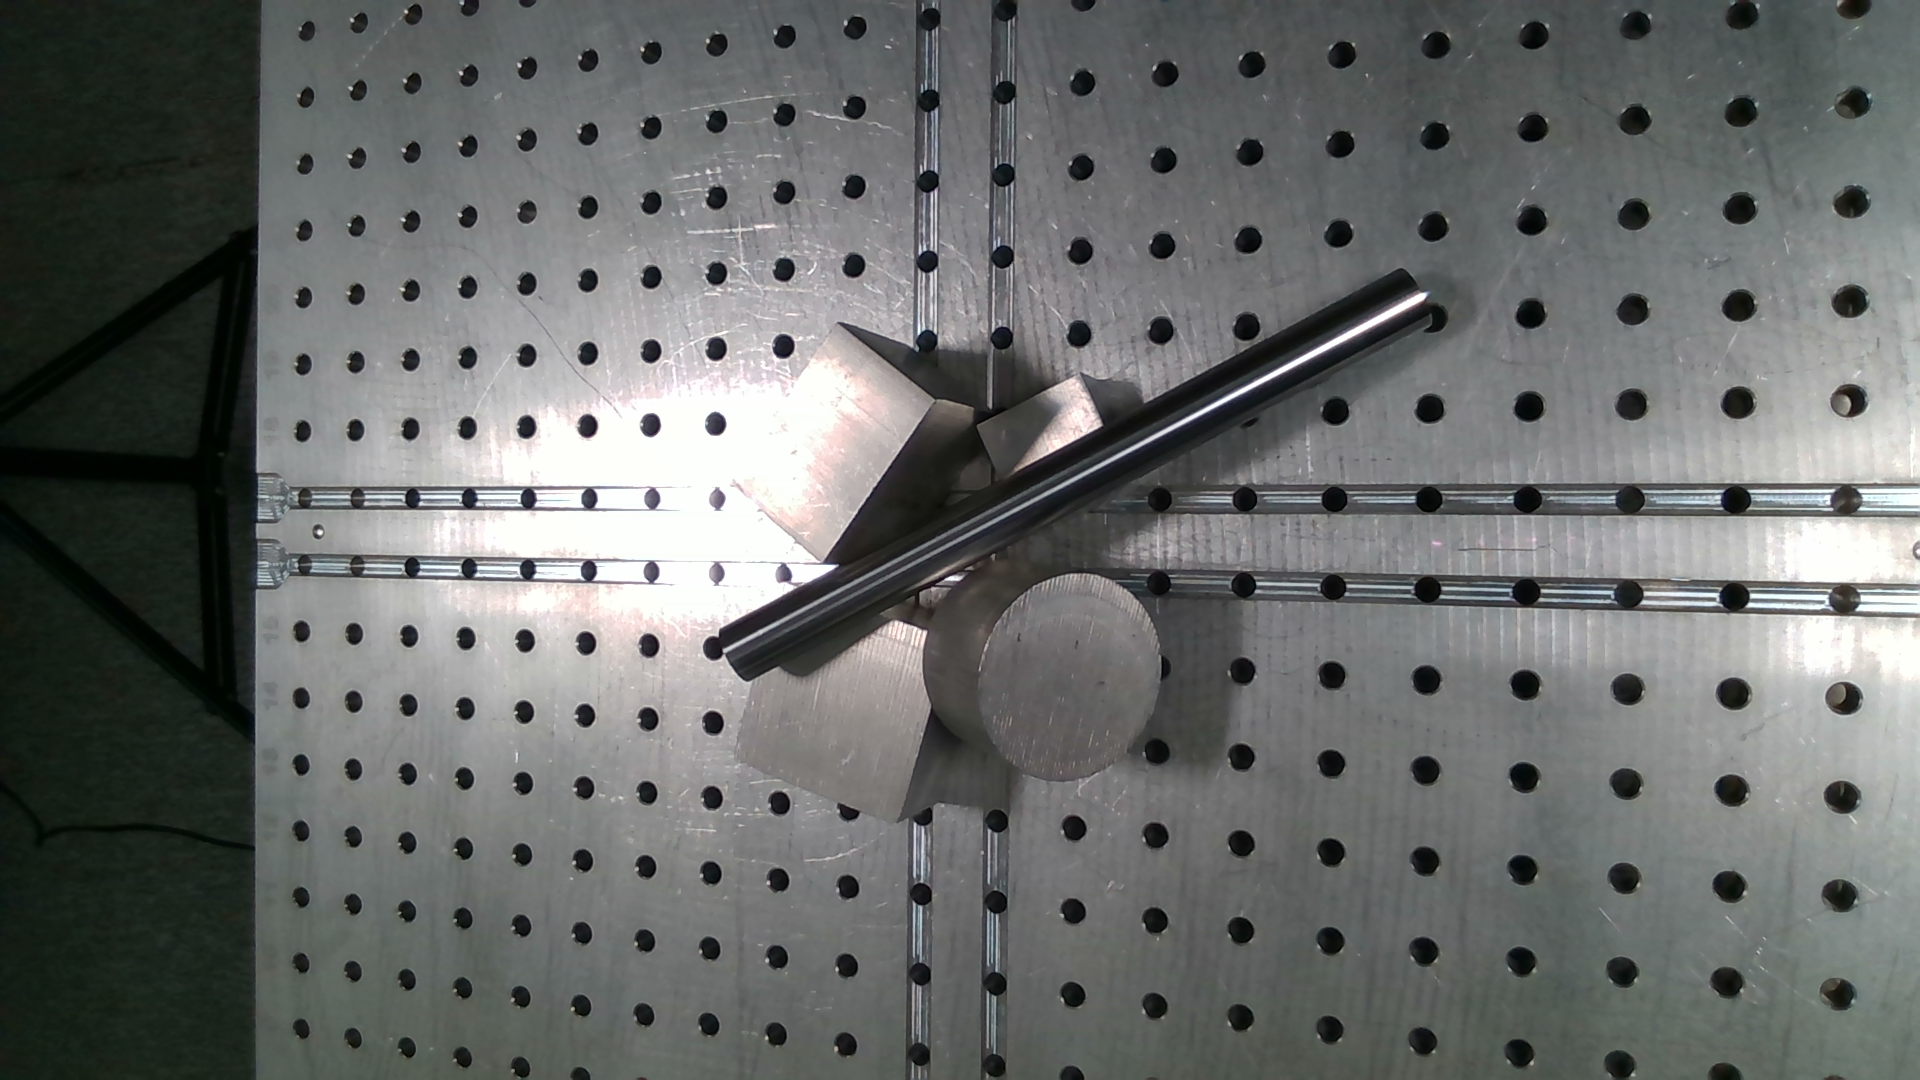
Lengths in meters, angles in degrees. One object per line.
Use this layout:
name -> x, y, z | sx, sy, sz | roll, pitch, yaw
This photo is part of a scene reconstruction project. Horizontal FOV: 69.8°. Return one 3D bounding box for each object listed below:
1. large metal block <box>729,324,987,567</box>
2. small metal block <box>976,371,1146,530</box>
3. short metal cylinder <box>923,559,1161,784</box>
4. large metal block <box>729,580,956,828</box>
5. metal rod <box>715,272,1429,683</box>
large metal block -> -0.037, -0.037, 0.572 | 0.050, 0.080, 0.080 | 39, 103, 16
small metal block -> 0.042, -0.035, 0.573 | 0.050, 0.025, 0.050 | -26, 82, 19
short metal cylinder -> 0.031, 0.050, 0.541 | 0.050, 0.080, 0.080 | 15, 98, 63
large metal block -> -0.042, 0.067, 0.590 | 0.080, 0.050, 0.080 | 18, 97, 19
metal rod -> 0.040, -0.022, 0.541 | 0.300, 0.025, 0.025 | -28, 81, 7
